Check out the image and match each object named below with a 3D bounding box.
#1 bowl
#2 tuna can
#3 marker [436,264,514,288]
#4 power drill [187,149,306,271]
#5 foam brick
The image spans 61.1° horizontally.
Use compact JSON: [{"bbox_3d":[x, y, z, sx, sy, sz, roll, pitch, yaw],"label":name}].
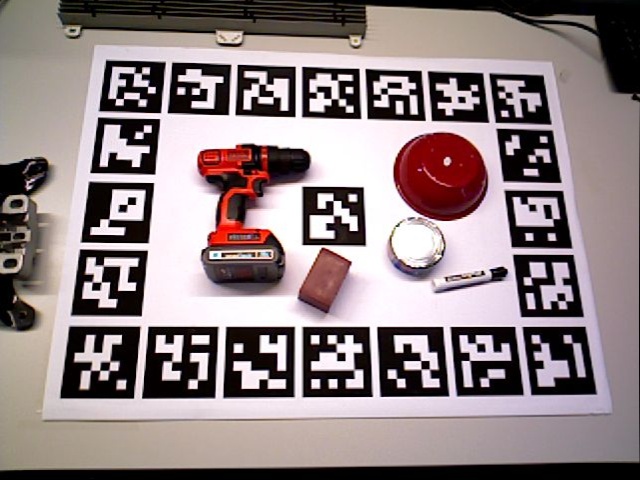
[{"bbox_3d":[0.196,-0.120,0.868,0.161,0.056,0.160,0,65,-1],"label":"bowl"},{"bbox_3d":[0.150,0.002,0.825,0.085,0.034,0.085,2,72,-6],"label":"tuna can"},{"bbox_3d":[0.236,0.054,0.821,0.120,0.020,0.019,-9,74,-7],"label":"marker"},{"bbox_3d":[-0.108,-0.049,0.816,0.183,0.058,0.185,0,70,-8],"label":"power drill"},{"bbox_3d":[0.009,0.059,0.795,0.051,0.053,0.077,23,73,2],"label":"foam brick"}]
